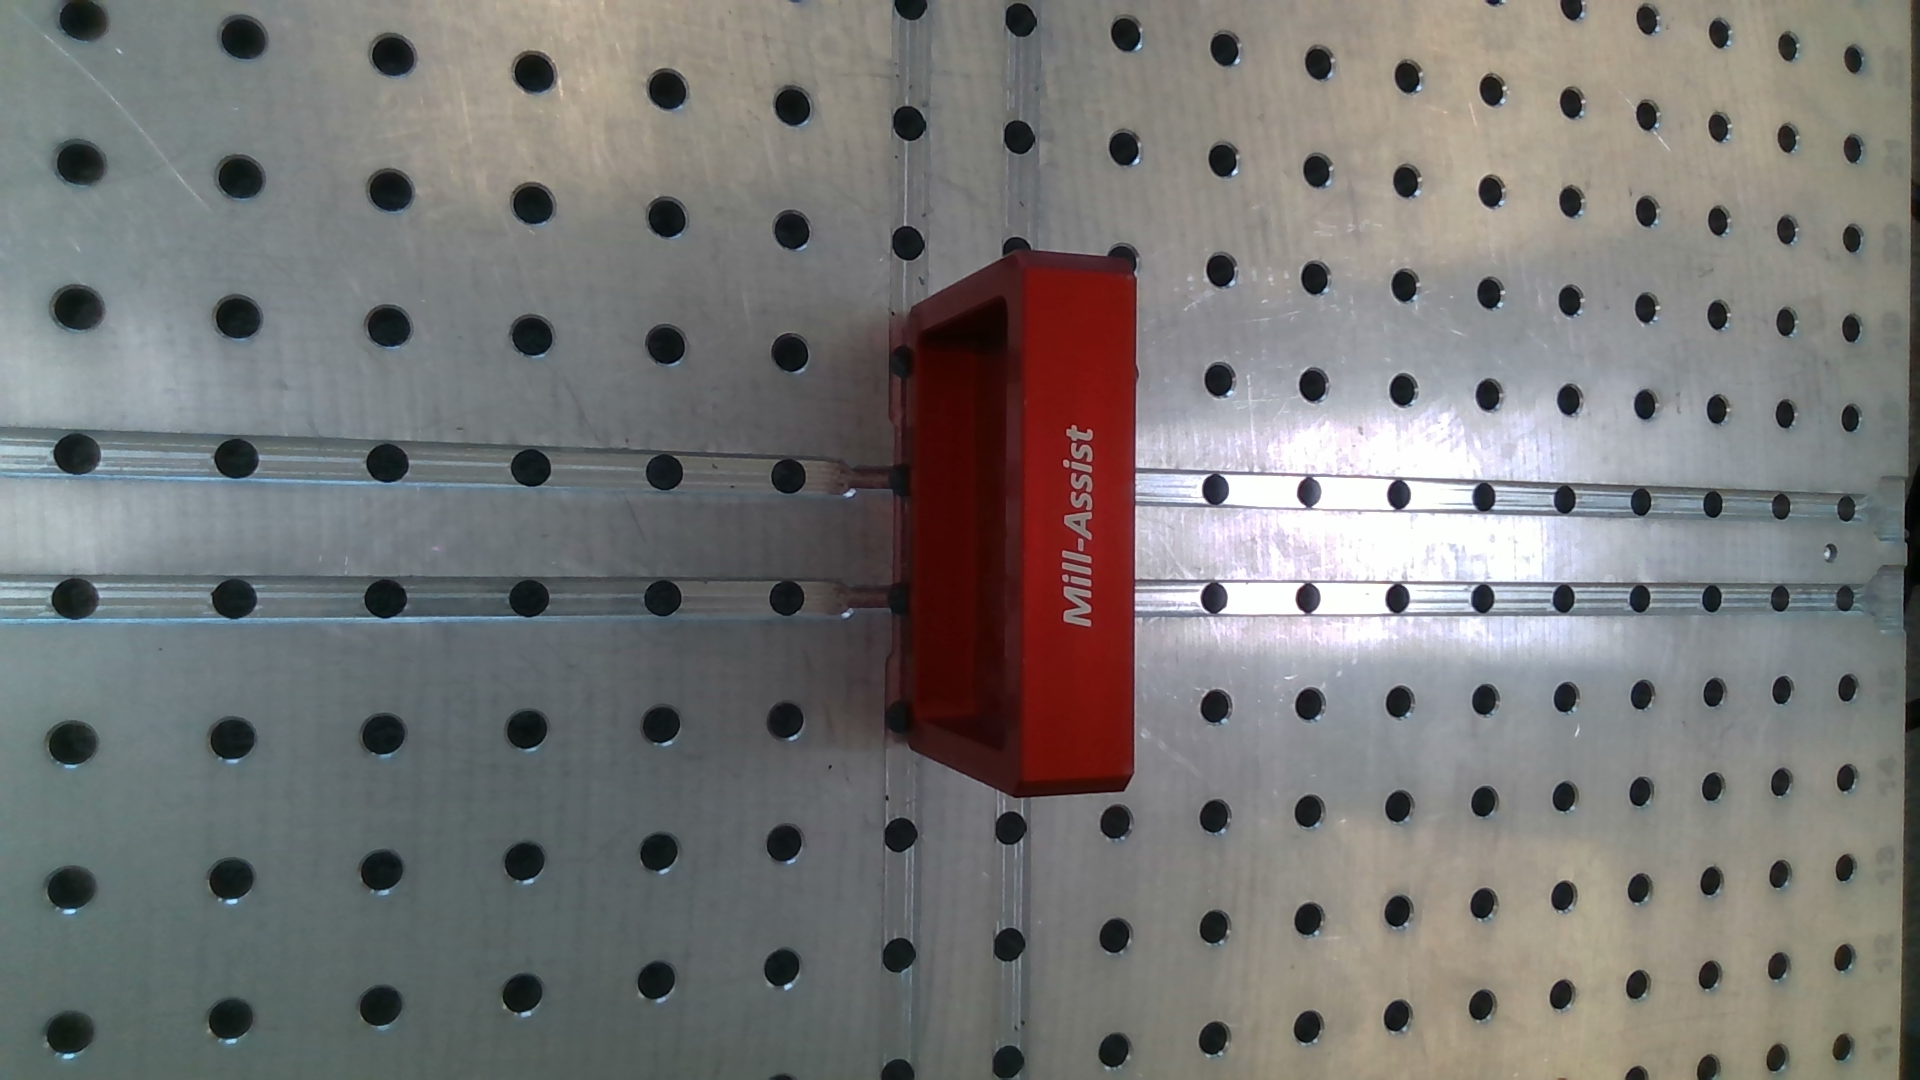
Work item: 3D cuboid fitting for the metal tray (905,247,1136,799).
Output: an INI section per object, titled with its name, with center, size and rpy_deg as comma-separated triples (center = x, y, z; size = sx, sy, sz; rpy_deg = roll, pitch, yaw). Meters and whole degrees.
[metal tray]
center = 0.013, -0.004, 0.366
size = 0.030, 0.090, 0.130
rpy_deg = 0, 90, -20
